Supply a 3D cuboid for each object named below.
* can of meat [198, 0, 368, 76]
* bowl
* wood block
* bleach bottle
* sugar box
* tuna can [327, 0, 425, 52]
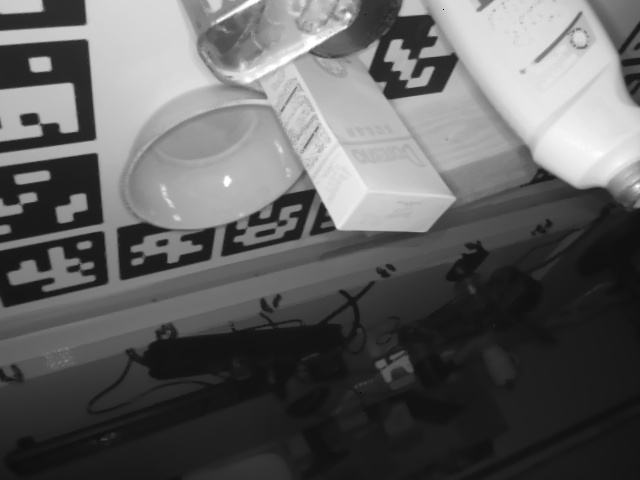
[{"bbox_3d":[-0.032,-0.170,0.452,0.102,0.084,0.058,-26,153,4],"label":"can of meat"},{"bbox_3d":[-0.086,-0.076,0.581,0.163,0.055,0.160,-22,152,-12],"label":"bowl"},{"bbox_3d":[0.146,-0.085,0.712,0.208,0.090,0.090,-16,145,-15],"label":"wood block"},{"bbox_3d":[0.168,-0.134,0.484,0.103,0.251,0.068,-25,151,-1],"label":"bleach bottle"},{"bbox_3d":[0.026,-0.089,0.518,0.094,0.176,0.044,0,140,-42],"label":"sugar box"},{"bbox_3d":[0.034,-0.185,0.515,0.086,0.034,0.085,-20,147,-12],"label":"tuna can"}]
